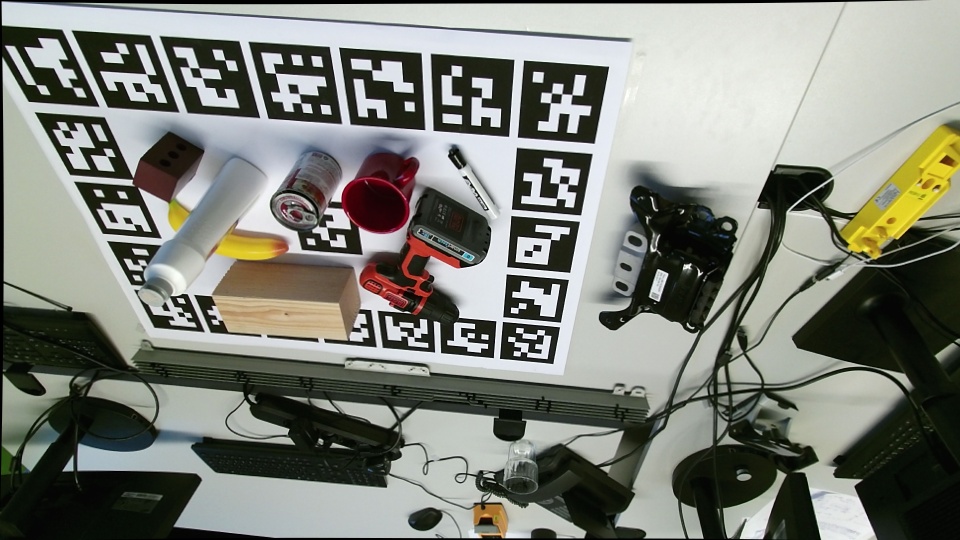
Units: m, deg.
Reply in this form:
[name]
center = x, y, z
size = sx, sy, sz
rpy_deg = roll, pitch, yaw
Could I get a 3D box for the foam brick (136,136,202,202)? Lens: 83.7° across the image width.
[foam brick]
center = -0.441, -0.140, 0.757
size = 0.053, 0.078, 0.051
rpy_deg = 30, 129, -21

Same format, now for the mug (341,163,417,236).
[mug]
center = -0.130, -0.104, 0.745
size = 0.117, 0.081, 0.093
rpy_deg = -37, 115, 27

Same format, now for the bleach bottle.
[bleach bottle]
center = -0.371, -0.043, 0.716
size = 0.068, 0.249, 0.103
rpy_deg = 27, 129, -17

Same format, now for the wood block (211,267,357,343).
[wood block]
center = -0.324, 0.056, 0.900
size = 0.207, 0.090, 0.090
rpy_deg = 4, 129, 3

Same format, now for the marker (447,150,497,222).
[marker]
center = -0.011, -0.119, 0.764
size = 0.020, 0.019, 0.121
rpy_deg = -21, 124, 19

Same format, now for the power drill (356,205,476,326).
[power drill]
center = -0.085, 0.000, 0.852
size = 0.185, 0.057, 0.187
rpy_deg = 29, 128, -13

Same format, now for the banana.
[banana]
center = -0.400, -0.032, 0.863
size = 0.198, 0.039, 0.074
rpy_deg = 18, 116, -6

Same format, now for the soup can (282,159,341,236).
[soup can]
center = -0.240, -0.099, 0.742
size = 0.068, 0.101, 0.068
rpy_deg = 5, 134, 5
